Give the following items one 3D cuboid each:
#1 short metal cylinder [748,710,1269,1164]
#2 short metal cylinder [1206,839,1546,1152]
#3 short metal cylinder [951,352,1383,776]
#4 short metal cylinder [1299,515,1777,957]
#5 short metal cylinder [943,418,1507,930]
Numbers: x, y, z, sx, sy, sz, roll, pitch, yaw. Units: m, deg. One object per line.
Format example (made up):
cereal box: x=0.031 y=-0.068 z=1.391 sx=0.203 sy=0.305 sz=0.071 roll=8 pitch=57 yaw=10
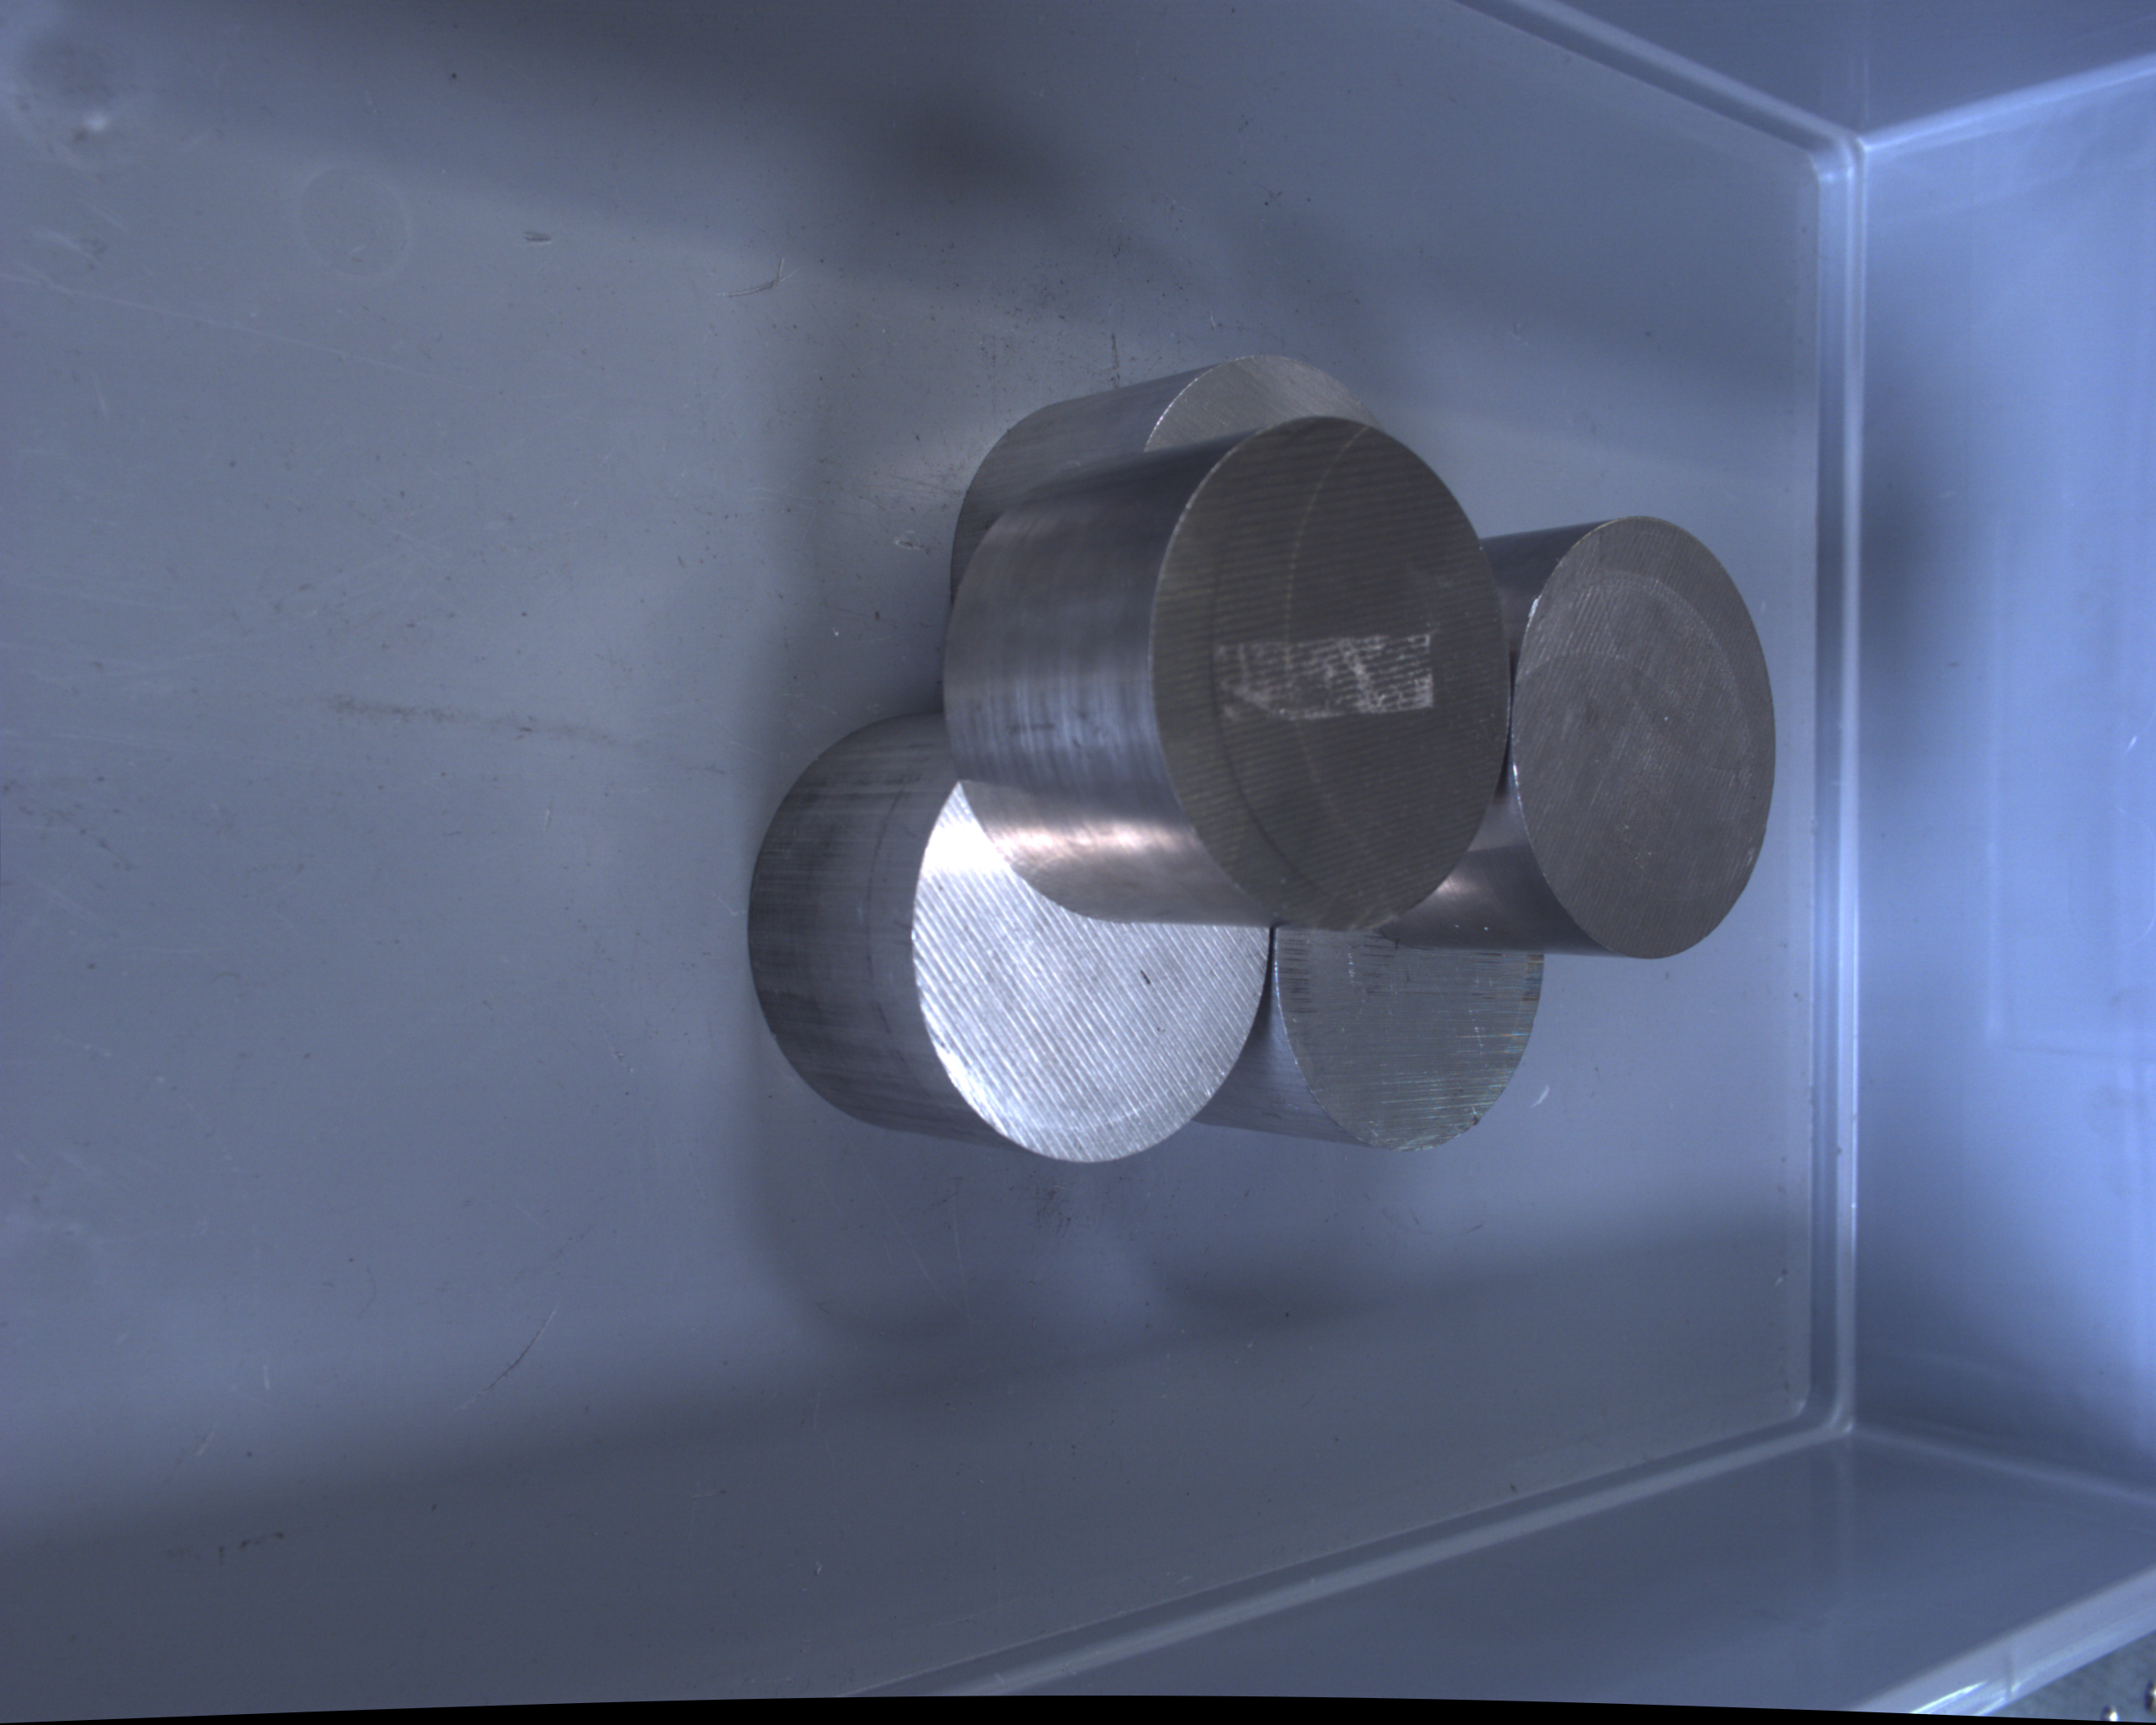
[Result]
short metal cylinder: x=-0.012 y=0.012 z=0.378 sx=0.081 sy=0.050 sz=0.080 roll=0 pitch=90 yaw=-40
short metal cylinder: x=0.051 y=0.017 z=0.431 sx=0.081 sy=0.050 sz=0.080 roll=0 pitch=90 yaw=-40
short metal cylinder: x=0.023 y=-0.055 z=0.407 sx=0.081 sy=0.050 sz=0.080 roll=0 pitch=90 yaw=-40
short metal cylinder: x=0.088 y=-0.023 z=0.395 sx=0.081 sy=0.050 sz=0.080 roll=0 pitch=90 yaw=-40
short metal cylinder: x=0.025 y=-0.029 z=0.344 sx=0.081 sy=0.050 sz=0.080 roll=0 pitch=90 yaw=-40
